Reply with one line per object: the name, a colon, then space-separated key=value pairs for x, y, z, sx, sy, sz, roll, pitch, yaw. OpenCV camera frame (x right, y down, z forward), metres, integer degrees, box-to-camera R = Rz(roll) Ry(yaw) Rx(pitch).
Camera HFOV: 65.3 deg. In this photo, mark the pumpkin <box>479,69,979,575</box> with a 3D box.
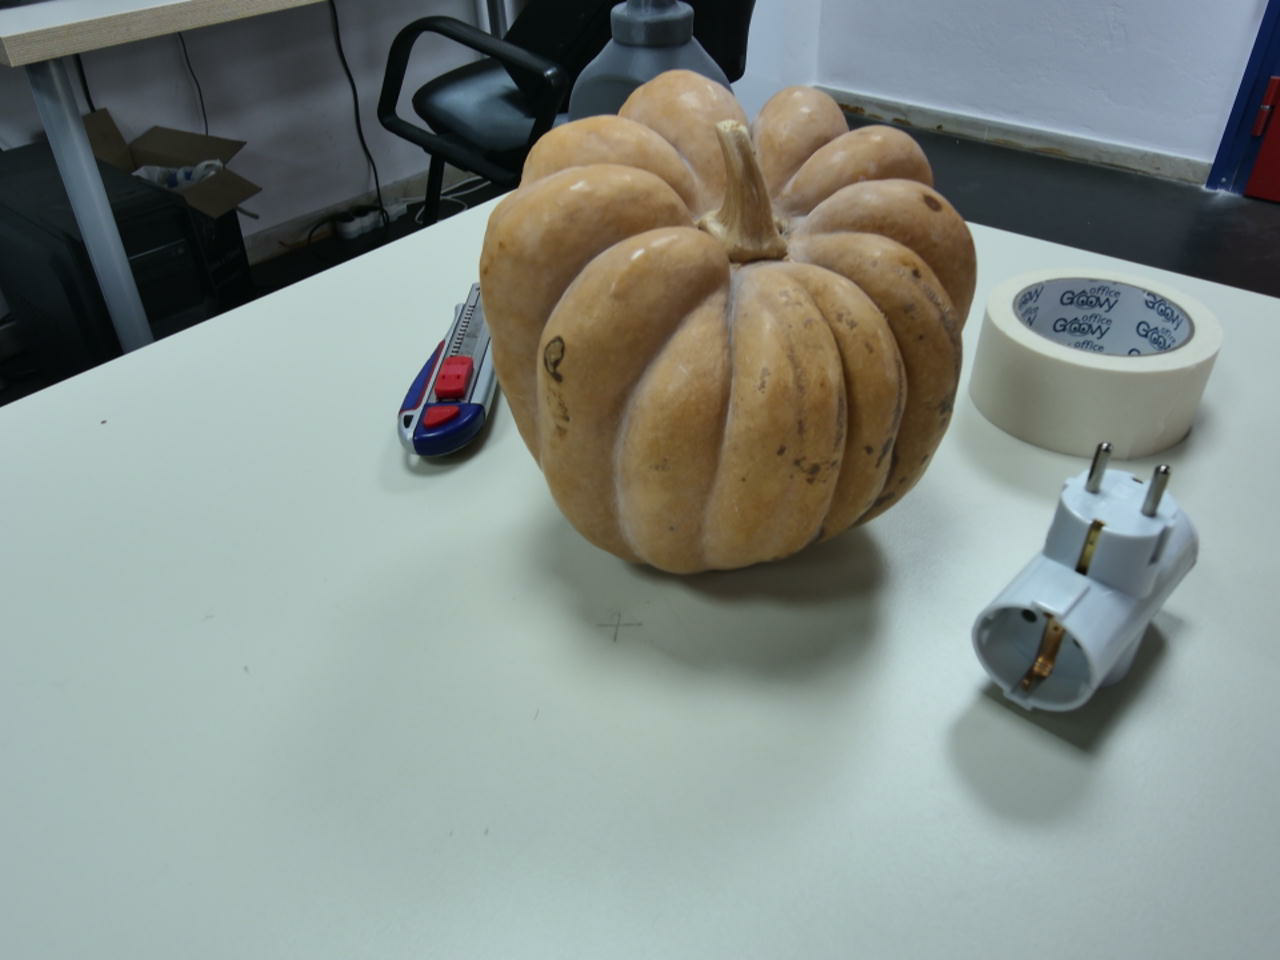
pumpkin: x=0.033 y=-0.059 z=0.403 sx=0.199 sy=0.177 sz=0.198 roll=0 pitch=36 yaw=0
